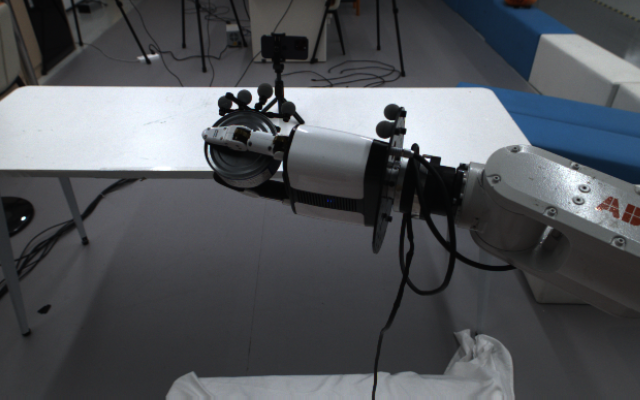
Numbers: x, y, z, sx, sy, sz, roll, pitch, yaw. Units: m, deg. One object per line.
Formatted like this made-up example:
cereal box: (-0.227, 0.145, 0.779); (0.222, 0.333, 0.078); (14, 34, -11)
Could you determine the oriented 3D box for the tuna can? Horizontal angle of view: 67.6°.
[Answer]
tuna can: (-0.086, -0.059, 0.558); (0.085, 0.034, 0.085); (-3, 69, 8)
